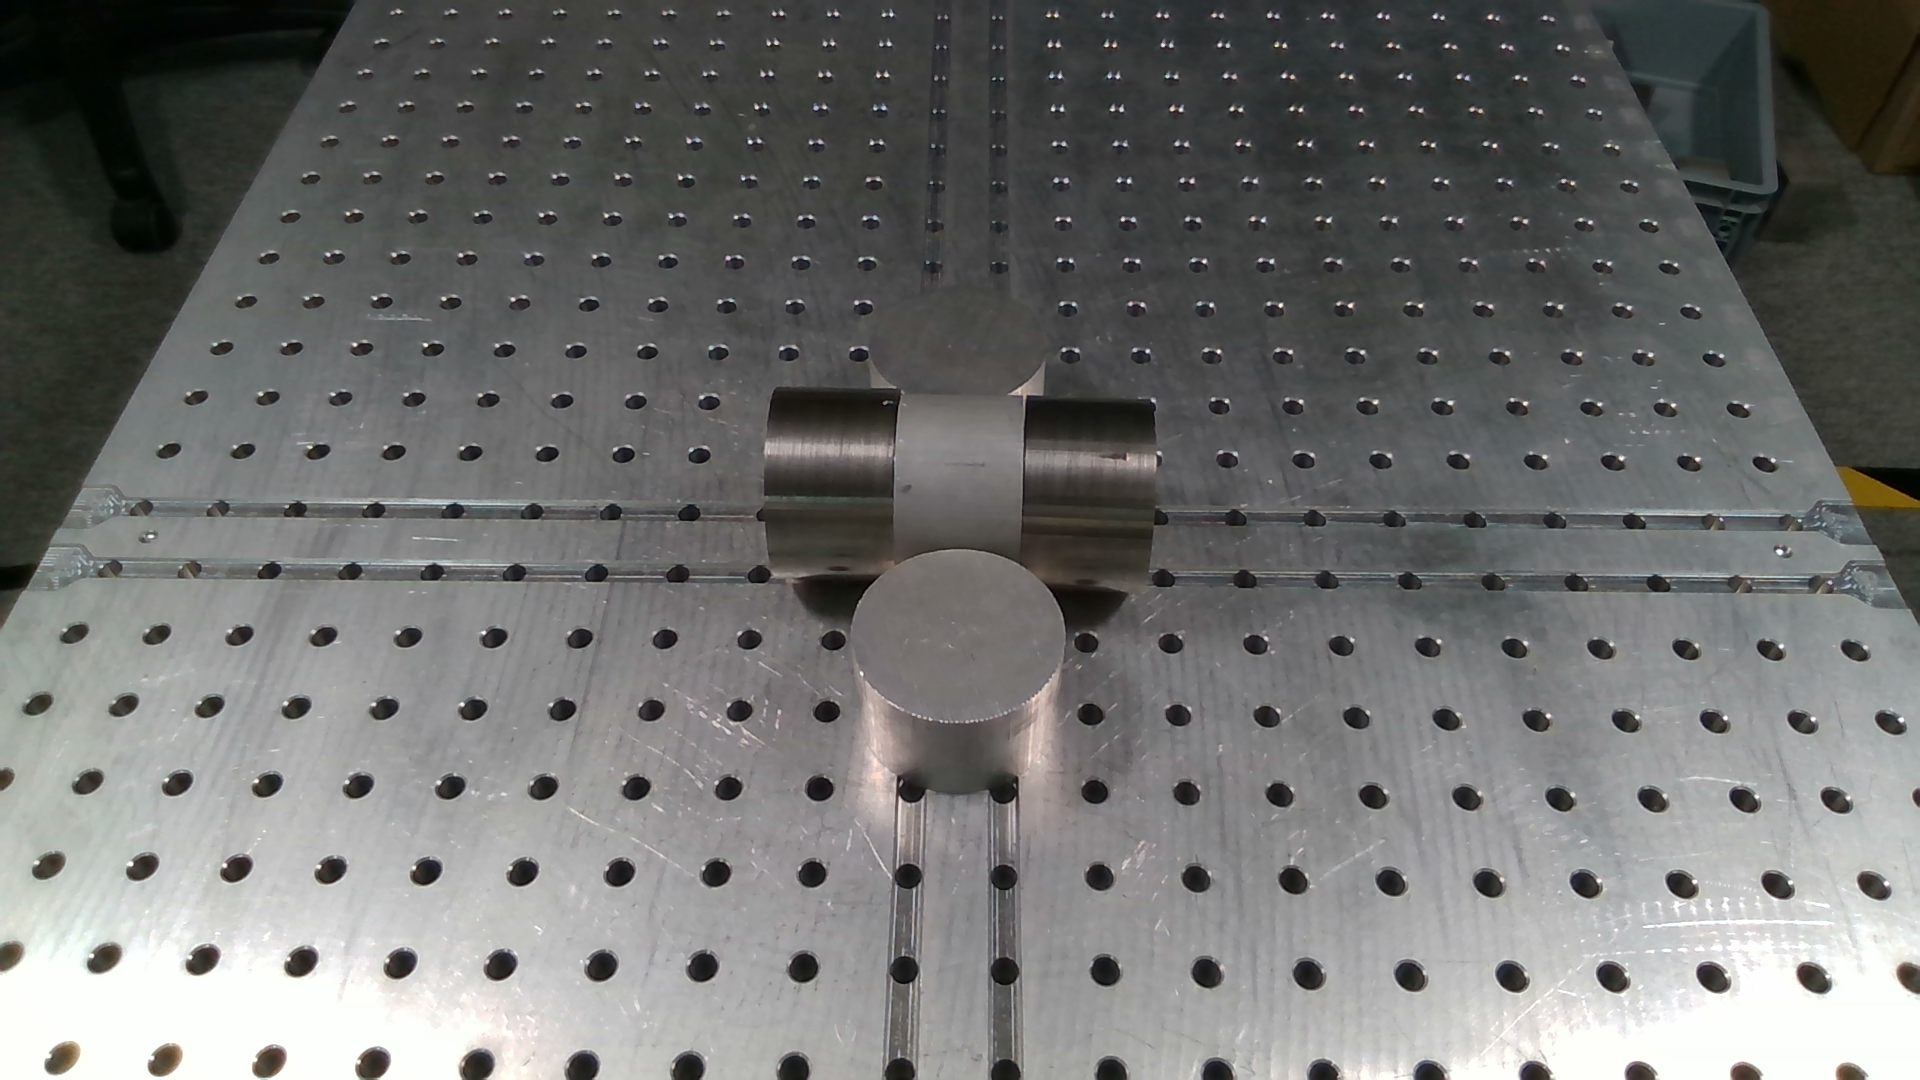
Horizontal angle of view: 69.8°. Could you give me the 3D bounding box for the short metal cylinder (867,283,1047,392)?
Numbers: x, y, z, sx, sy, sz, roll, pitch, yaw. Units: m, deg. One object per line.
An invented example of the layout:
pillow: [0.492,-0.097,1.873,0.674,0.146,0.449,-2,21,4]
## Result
short metal cylinder: [-0.001,-0.073,0.634,0.080,0.050,0.080,0,50,0]

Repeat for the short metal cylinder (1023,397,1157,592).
short metal cylinder: [0.052,-0.019,0.569,0.050,0.080,0.080,2,50,2]

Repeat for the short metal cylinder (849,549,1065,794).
short metal cylinder: [-0.001,0.050,0.531,0.080,0.050,0.080,0,50,0]

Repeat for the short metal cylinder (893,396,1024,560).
short metal cylinder: [0.000,-0.021,0.571,0.050,0.080,0.080,1,50,1]

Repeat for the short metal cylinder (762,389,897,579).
short metal cylinder: [-0.051,-0.023,0.573,0.050,0.080,0.080,1,50,1]
